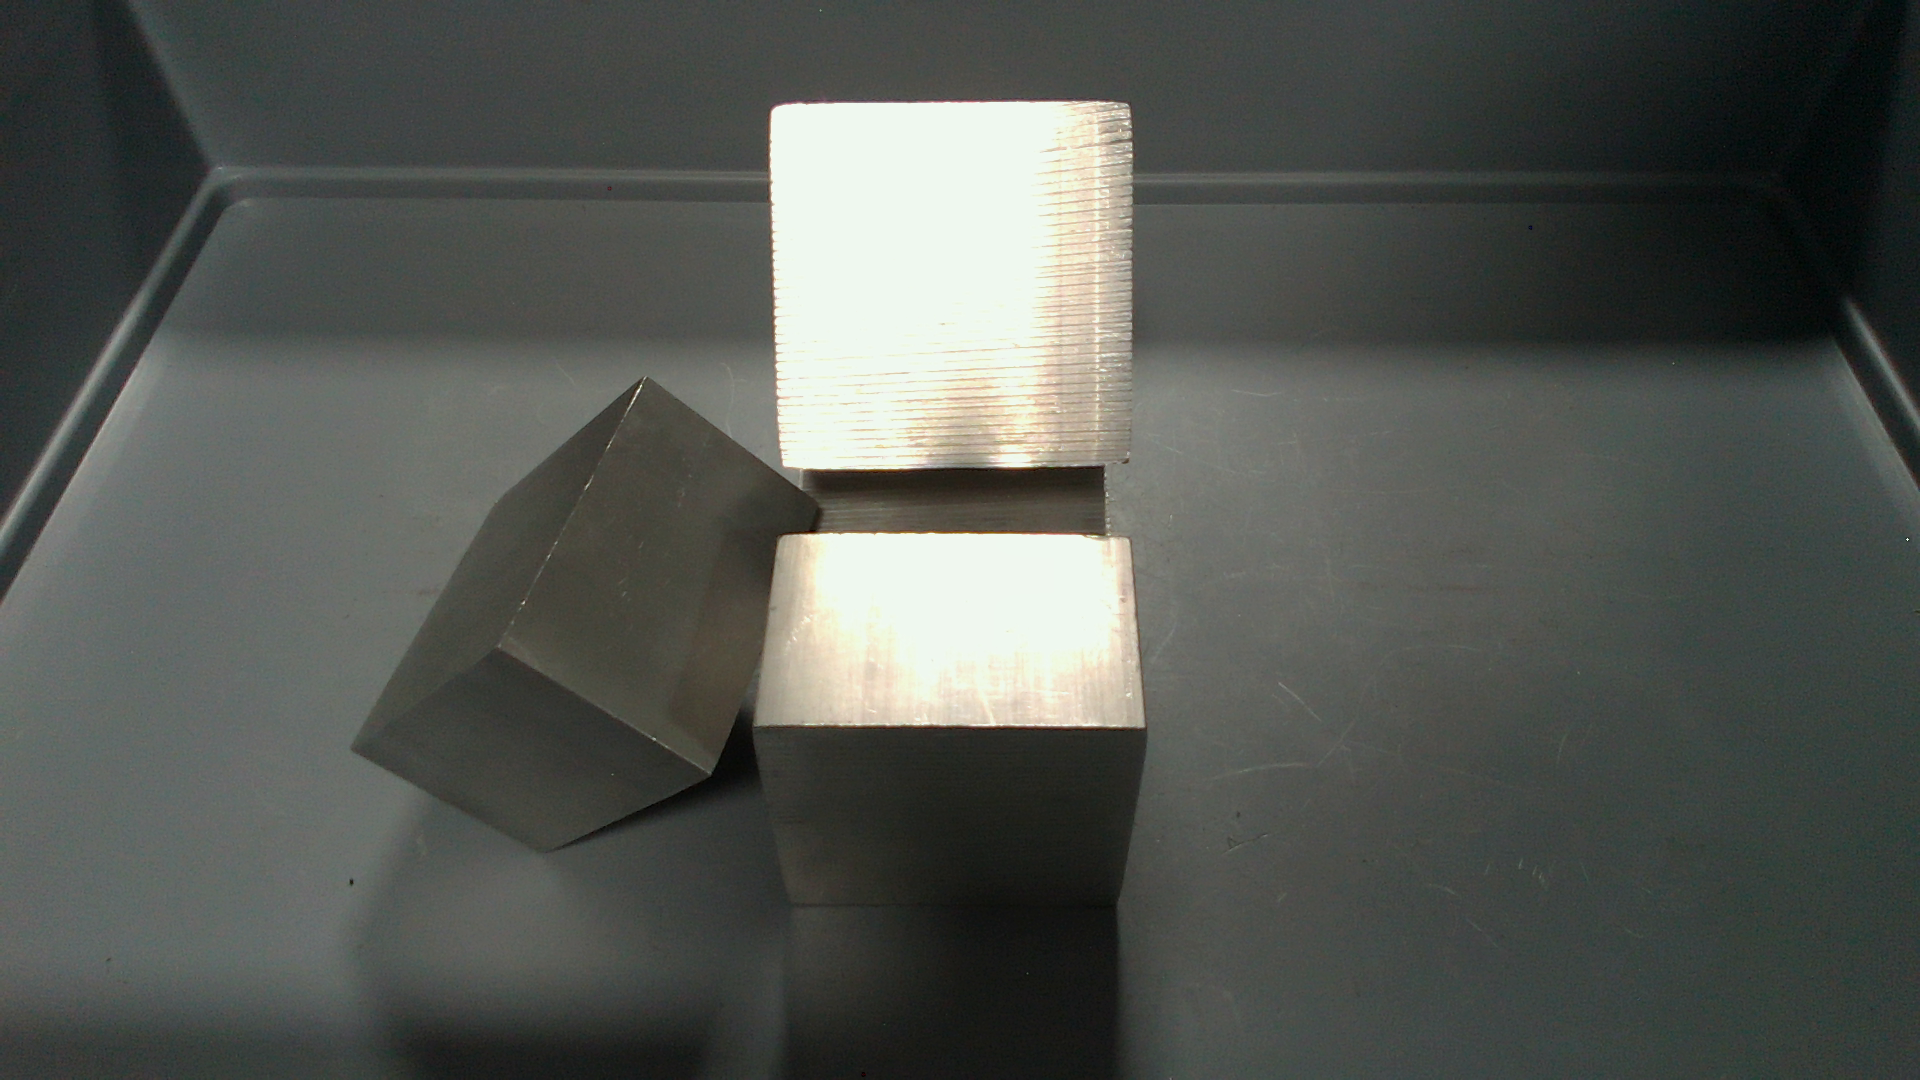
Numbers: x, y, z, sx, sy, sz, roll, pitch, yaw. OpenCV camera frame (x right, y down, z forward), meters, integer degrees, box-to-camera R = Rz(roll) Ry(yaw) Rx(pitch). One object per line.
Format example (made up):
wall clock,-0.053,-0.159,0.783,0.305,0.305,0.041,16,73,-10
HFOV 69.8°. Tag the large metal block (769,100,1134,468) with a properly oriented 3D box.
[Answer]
large metal block,-0.002,-0.059,0.330,0.080,0.080,0.050,-1,5,-1

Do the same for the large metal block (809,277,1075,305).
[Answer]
large metal block,-0.003,-0.057,0.402,0.080,0.080,0.050,-1,50,-1

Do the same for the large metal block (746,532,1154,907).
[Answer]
large metal block,-0.001,0.043,0.317,0.080,0.080,0.050,0,50,0

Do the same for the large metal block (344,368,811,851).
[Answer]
large metal block,-0.090,0.019,0.328,0.050,0.080,0.080,38,47,-25

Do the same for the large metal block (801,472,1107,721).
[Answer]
large metal block,-0.003,0.004,0.373,0.080,0.050,0.080,-1,50,0
